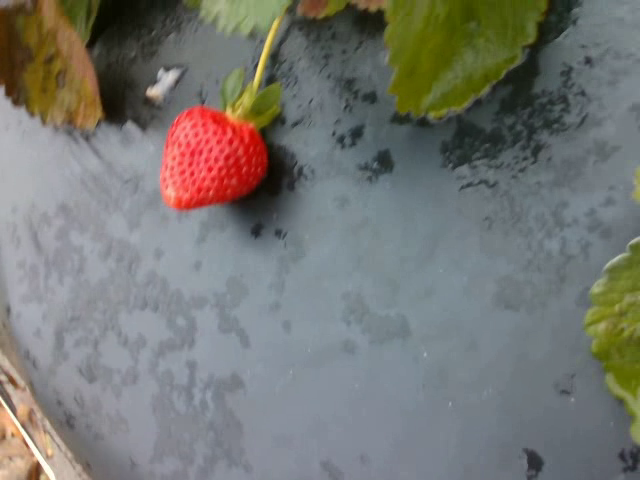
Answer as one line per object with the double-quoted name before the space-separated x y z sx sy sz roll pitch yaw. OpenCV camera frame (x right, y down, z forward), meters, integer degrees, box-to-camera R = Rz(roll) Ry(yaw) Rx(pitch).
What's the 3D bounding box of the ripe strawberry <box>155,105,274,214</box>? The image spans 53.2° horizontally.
"ripe strawberry" -0.047 -0.031 0.260 0.045 0.054 0.048 3 -39 49
